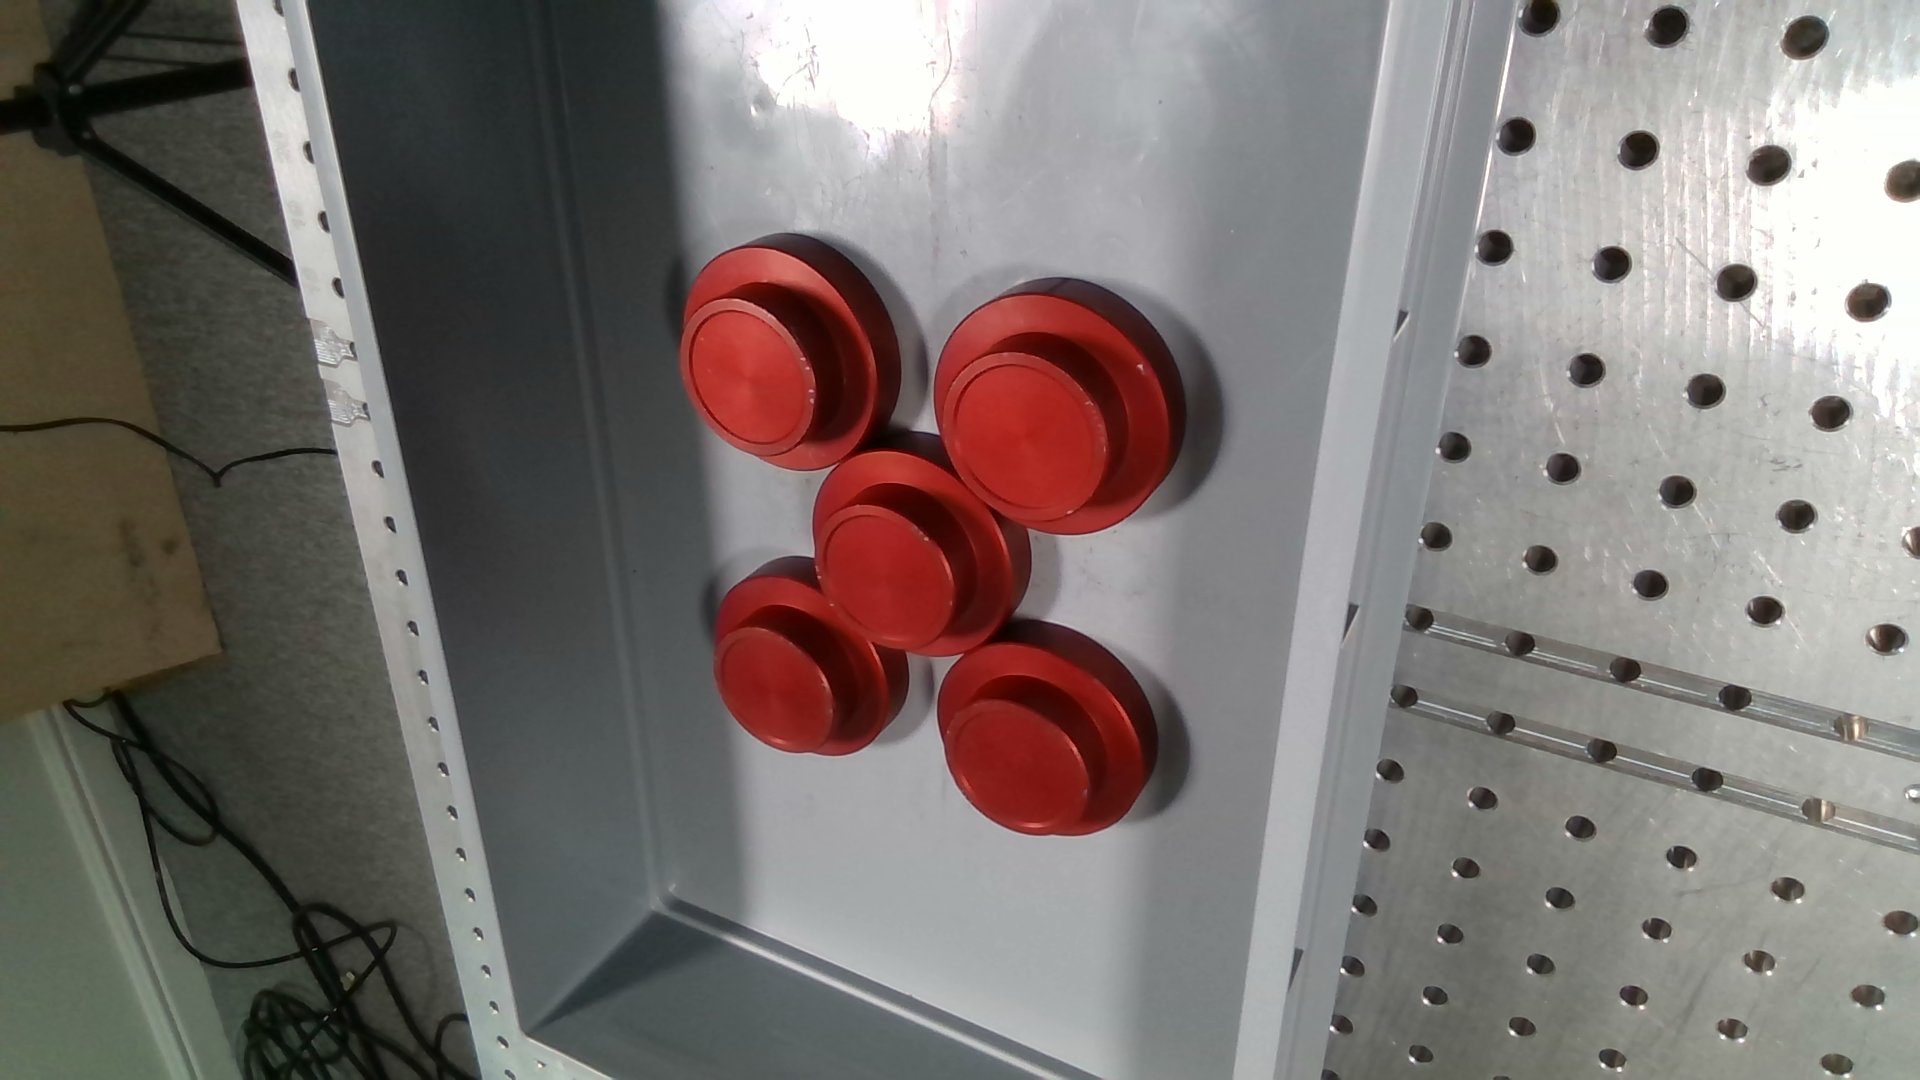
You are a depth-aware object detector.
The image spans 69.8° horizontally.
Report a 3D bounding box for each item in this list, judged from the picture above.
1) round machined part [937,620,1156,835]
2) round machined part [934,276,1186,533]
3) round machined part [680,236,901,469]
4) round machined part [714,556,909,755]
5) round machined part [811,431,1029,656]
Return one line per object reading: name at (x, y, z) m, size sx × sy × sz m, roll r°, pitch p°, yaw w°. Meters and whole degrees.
round machined part at (0.032, 0.087, 0.596) m, size 0.098 × 0.042 × 0.098 m, roll 14°, pitch 122°, yaw 25°
round machined part at (0.032, -0.047, 0.522) m, size 0.098 × 0.042 × 0.098 m, roll 14°, pitch 122°, yaw 25°
round machined part at (-0.077, -0.074, 0.574) m, size 0.098 × 0.042 × 0.098 m, roll 14°, pitch 122°, yaw 25°
round machined part at (-0.076, 0.060, 0.647) m, size 0.098 × 0.042 × 0.098 m, roll 14°, pitch 122°, yaw 25°
round machined part at (-0.023, 0.007, 0.584) m, size 0.098 × 0.042 × 0.098 m, roll 14°, pitch 122°, yaw 25°
